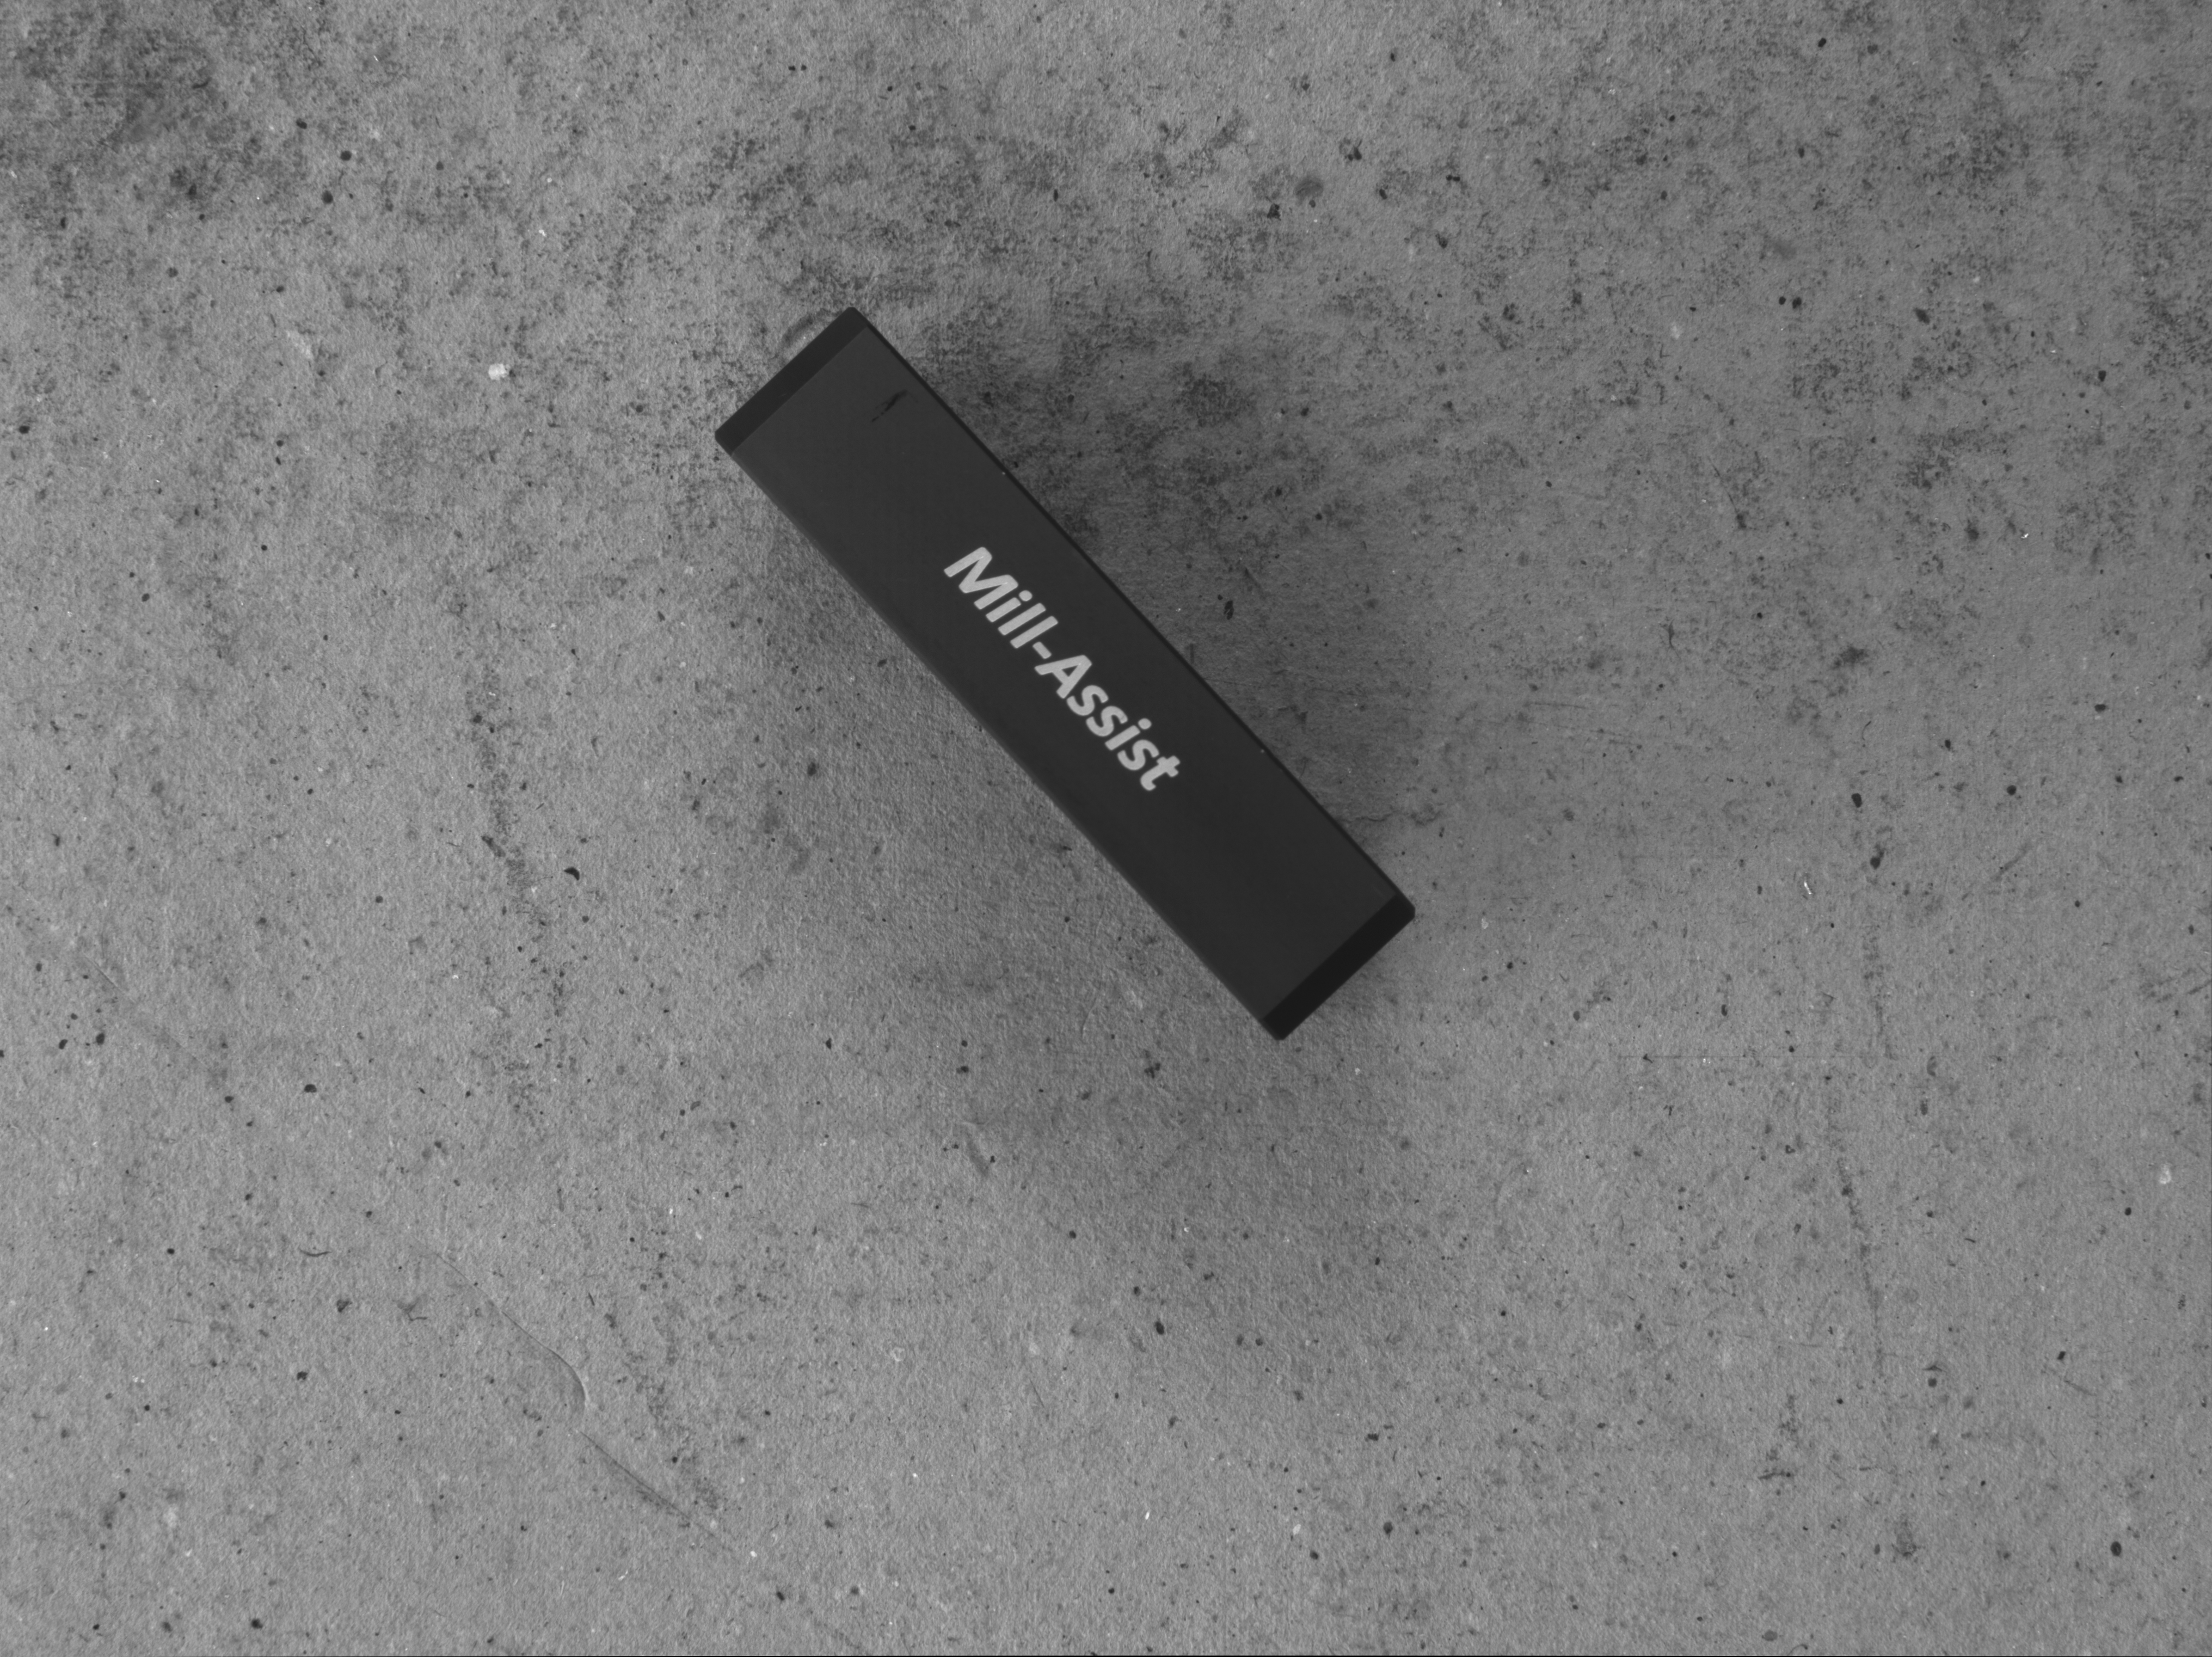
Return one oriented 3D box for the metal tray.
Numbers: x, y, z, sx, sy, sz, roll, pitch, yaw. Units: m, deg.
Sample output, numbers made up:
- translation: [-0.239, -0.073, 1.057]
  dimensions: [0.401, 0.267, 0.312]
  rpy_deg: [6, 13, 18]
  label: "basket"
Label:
- translation: [-0.006, -0.024, 0.613]
  dimensions: [0.030, 0.090, 0.130]
  rpy_deg: [-43, 90, 0]
  label: "metal tray"
